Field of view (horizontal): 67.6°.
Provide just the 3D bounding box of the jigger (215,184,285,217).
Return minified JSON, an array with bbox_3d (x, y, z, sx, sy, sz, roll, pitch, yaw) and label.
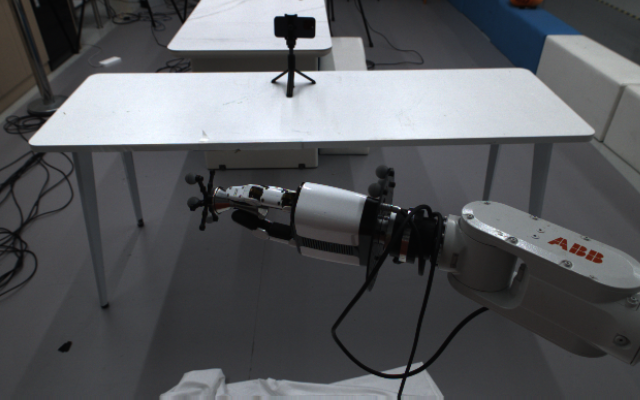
[{"bbox_3d":[-0.102,-0.001,0.672,0.071,0.043,0.043,3,34,14],"label":"jigger"}]
